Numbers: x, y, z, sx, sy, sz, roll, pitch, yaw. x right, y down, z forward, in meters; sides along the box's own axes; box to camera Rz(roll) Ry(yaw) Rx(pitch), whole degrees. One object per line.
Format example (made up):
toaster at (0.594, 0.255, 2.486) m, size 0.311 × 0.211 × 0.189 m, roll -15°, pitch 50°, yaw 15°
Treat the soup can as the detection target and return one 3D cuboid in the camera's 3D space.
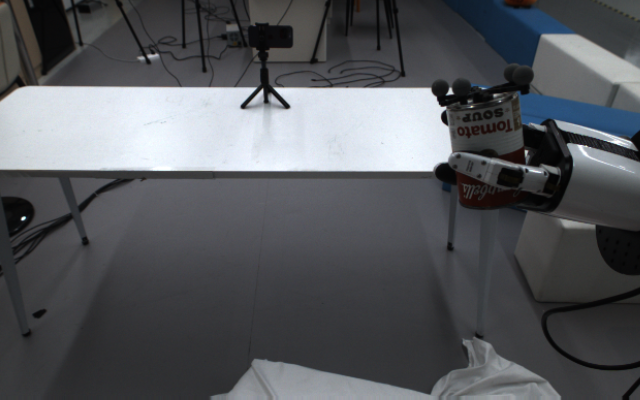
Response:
soup can at (0.167, -0.051, 0.478) m, size 0.067 × 0.101 × 0.067 m, roll -12°, pitch 17°, yaw 4°
